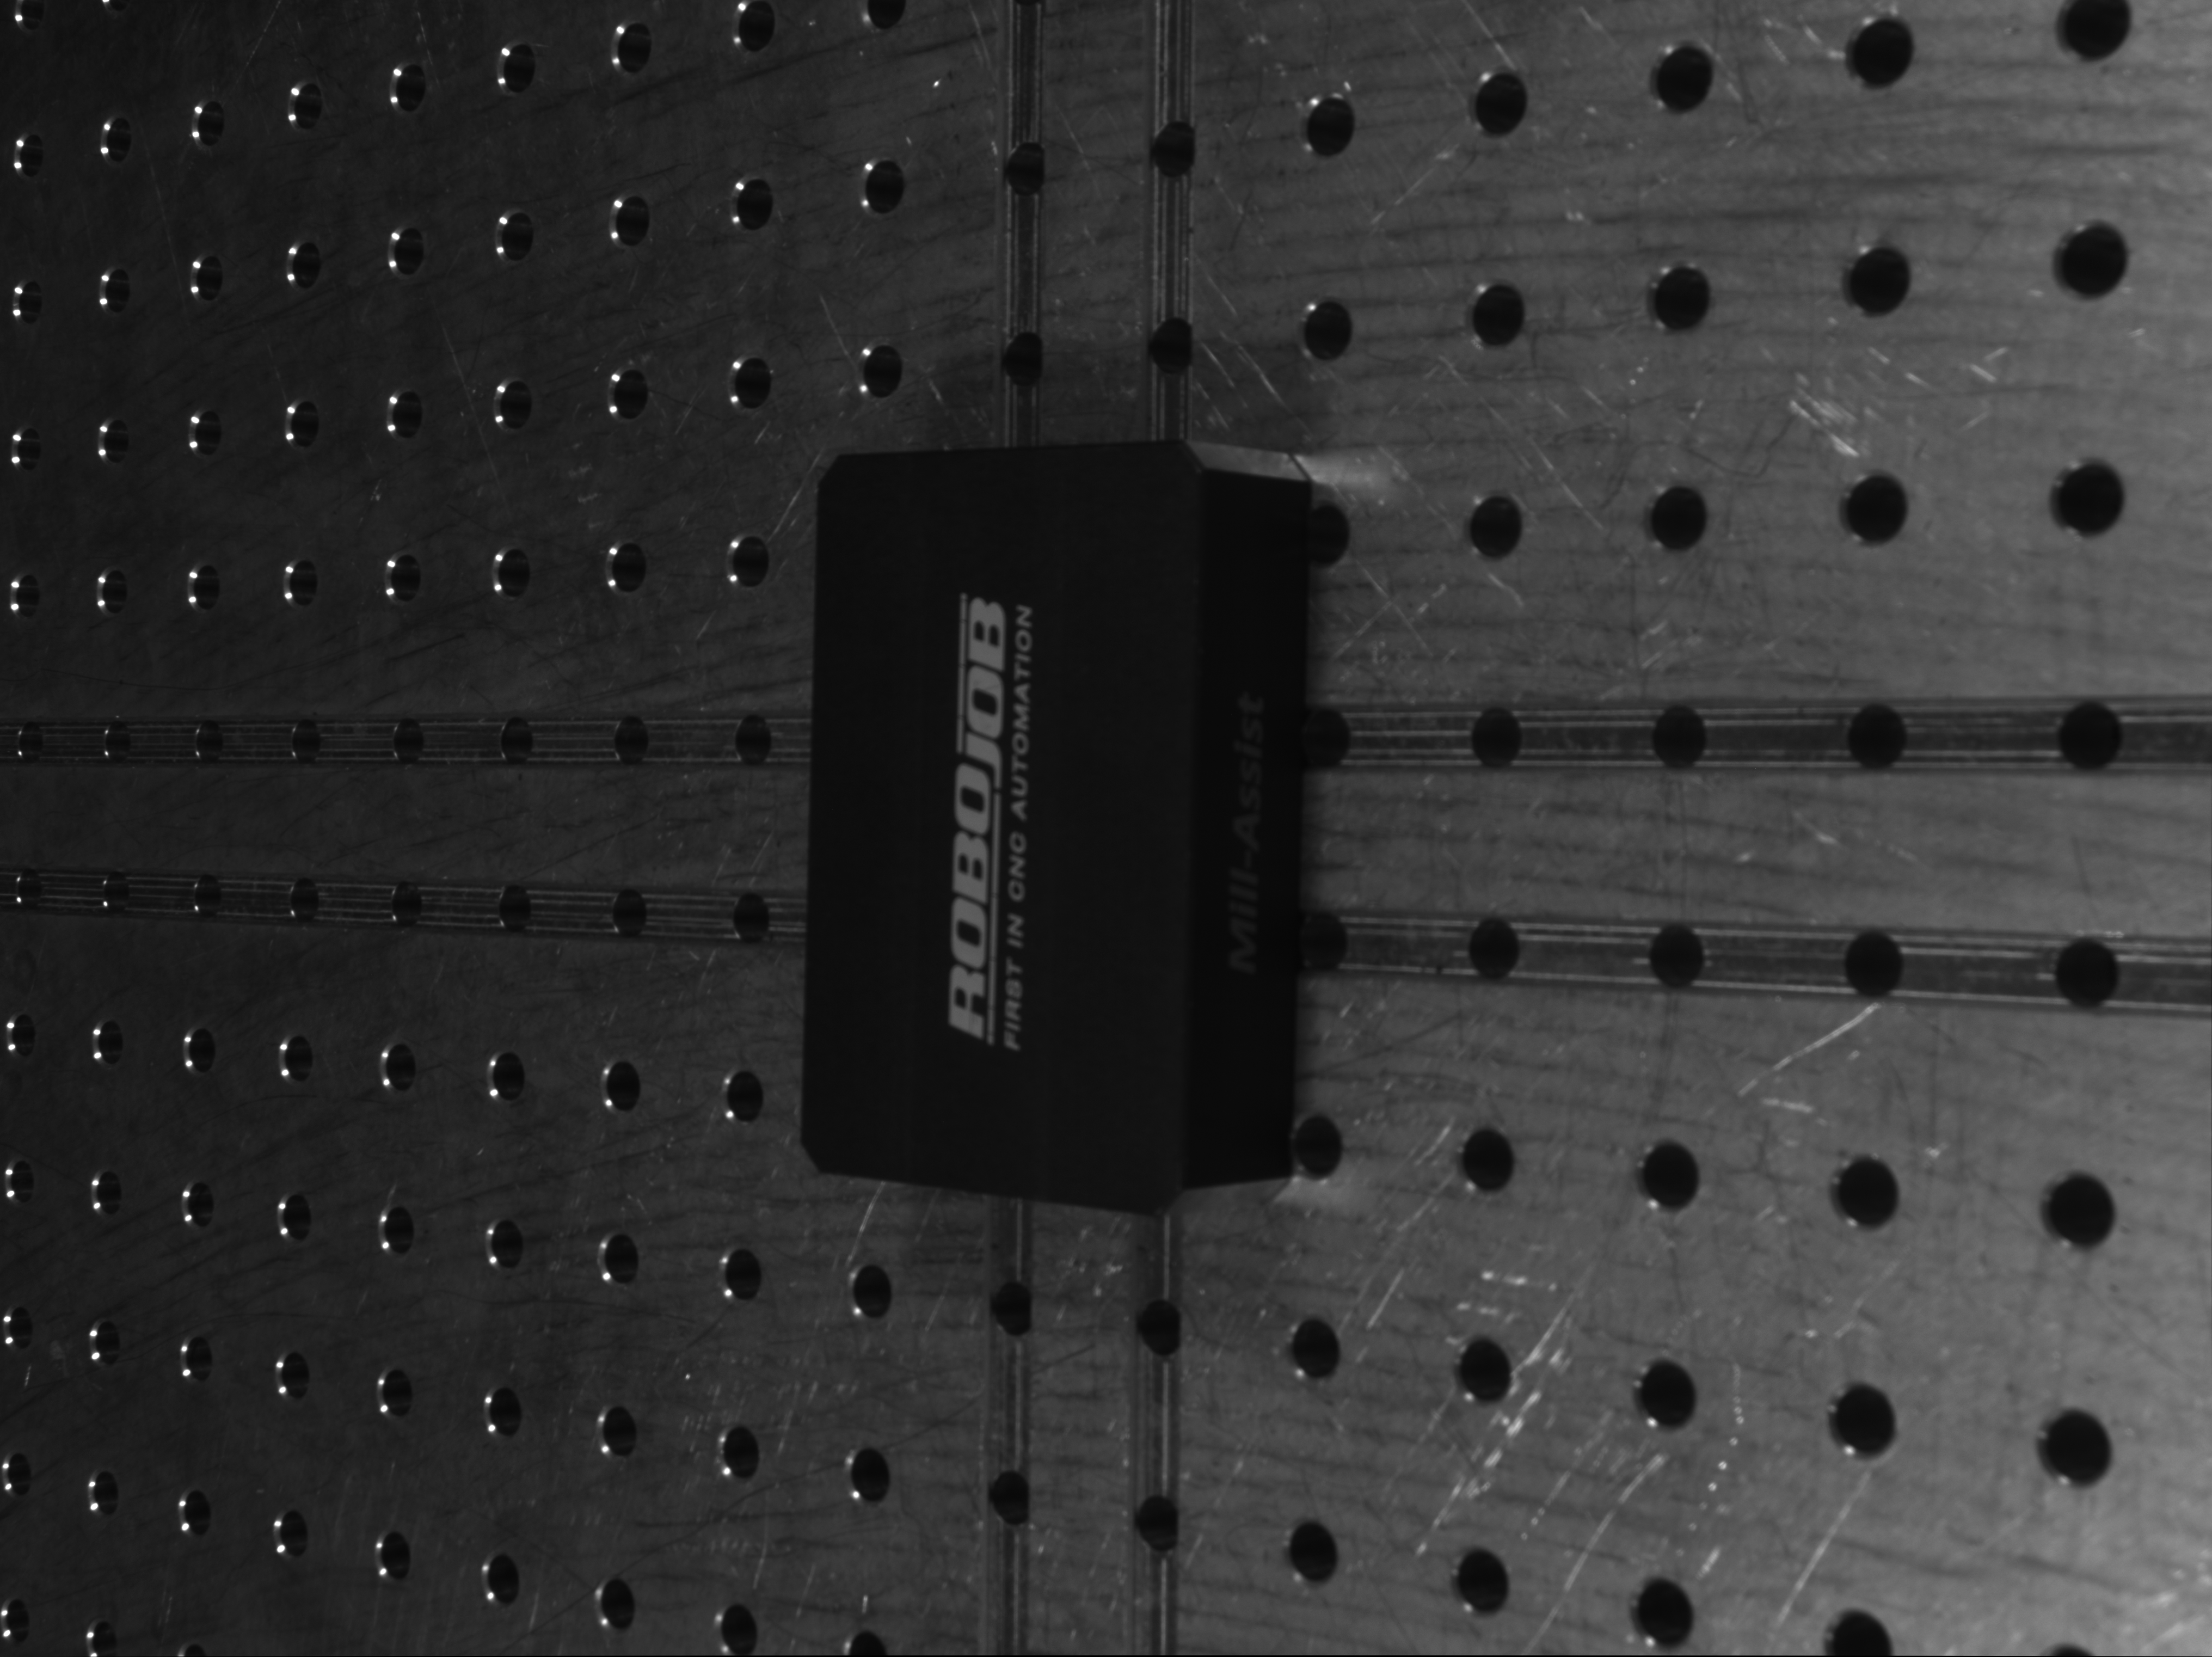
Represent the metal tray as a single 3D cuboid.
[{"bbox_3d":[-0.015,-0.001,0.648,0.090,0.030,0.130,3,91,39],"label":"metal tray"}]
